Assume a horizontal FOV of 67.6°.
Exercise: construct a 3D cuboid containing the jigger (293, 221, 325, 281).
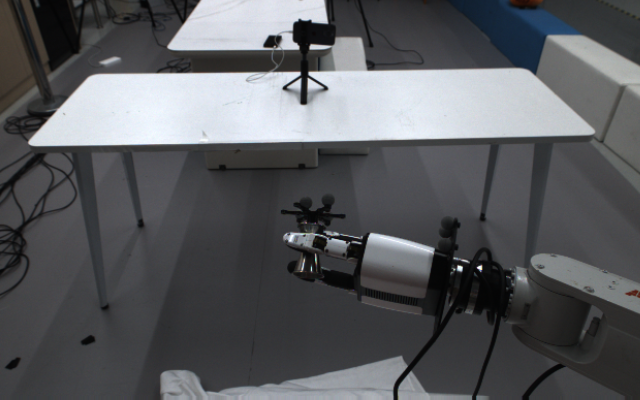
[{"bbox_3d":[-0.016,0.066,0.650,0.043,0.043,0.071,5,71,4],"label":"jigger"}]
